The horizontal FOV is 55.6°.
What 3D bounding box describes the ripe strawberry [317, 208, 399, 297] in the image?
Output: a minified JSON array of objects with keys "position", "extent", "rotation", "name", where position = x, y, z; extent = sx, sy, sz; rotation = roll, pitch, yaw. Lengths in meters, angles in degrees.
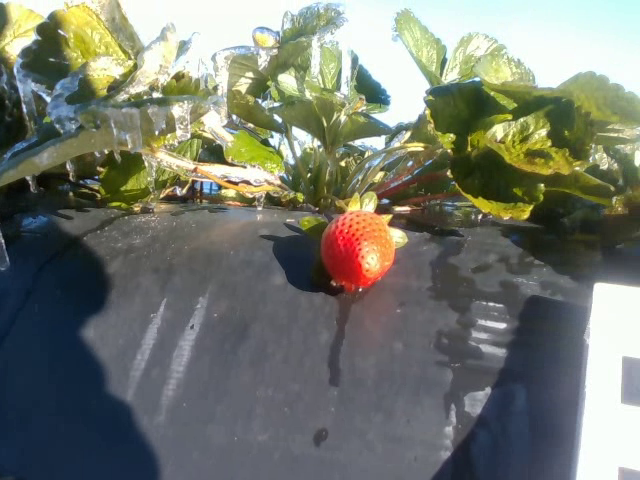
[{"position":[0.019,0.006,0.271],"extent":[0.039,0.041,0.053],"rotation":[-6,17,5],"name":"ripe strawberry"}]
